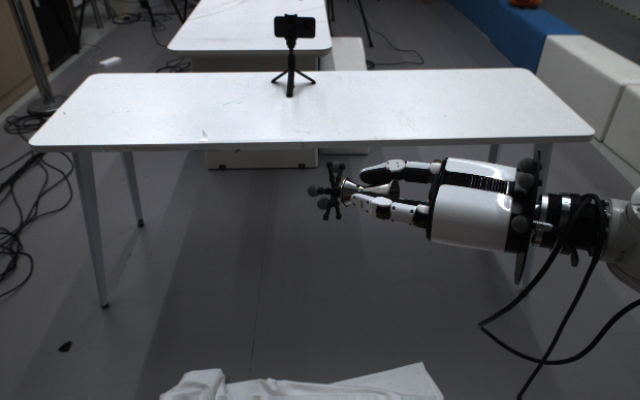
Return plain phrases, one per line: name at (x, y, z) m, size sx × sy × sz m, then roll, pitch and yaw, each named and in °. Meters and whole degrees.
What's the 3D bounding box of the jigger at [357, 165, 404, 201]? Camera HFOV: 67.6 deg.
jigger at (0.073, -0.015, 0.636) m, size 0.071 × 0.043 × 0.043 m, roll 3°, pitch 32°, yaw 26°
